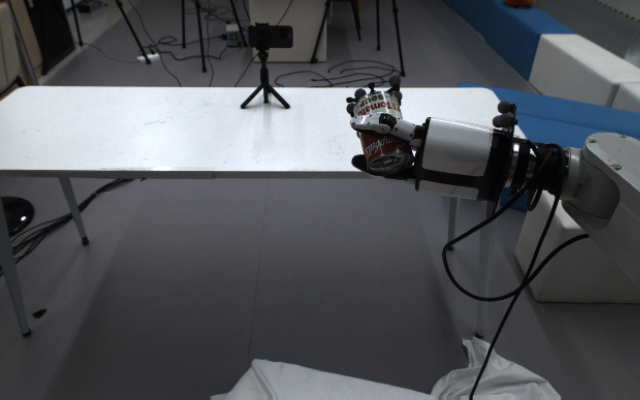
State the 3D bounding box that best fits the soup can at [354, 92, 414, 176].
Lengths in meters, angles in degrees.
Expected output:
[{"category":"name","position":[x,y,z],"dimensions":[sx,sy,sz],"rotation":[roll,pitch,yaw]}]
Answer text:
[{"category":"soup can","position":[0.090,-0.095,0.691],"dimensions":[0.067,0.067,0.101],"rotation":[-6,67,-12]}]
